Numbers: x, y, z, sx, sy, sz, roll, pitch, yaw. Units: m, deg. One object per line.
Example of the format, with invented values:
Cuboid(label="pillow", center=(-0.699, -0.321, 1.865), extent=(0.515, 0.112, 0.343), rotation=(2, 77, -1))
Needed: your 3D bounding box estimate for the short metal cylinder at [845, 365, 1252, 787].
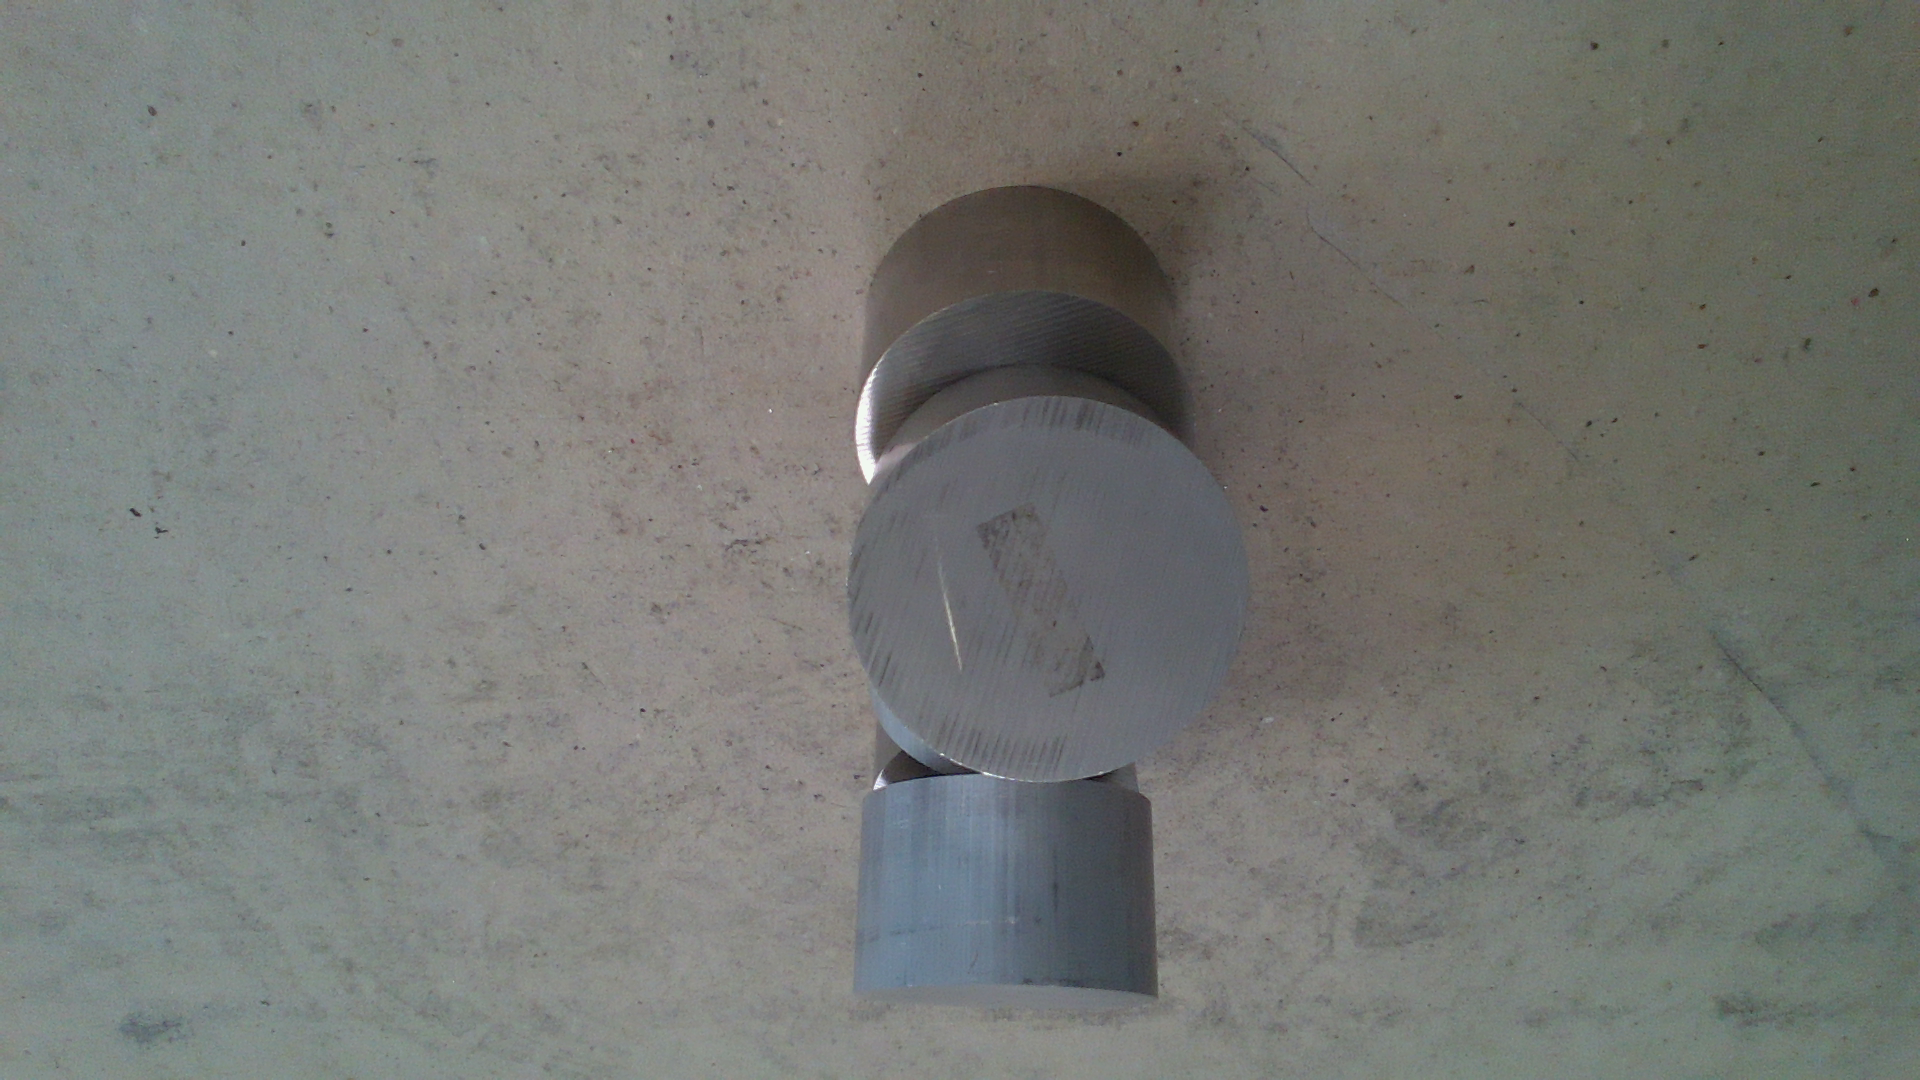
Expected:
Cuboid(label="short metal cylinder", center=(0.017, 0.005, 0.294), extent=(0.080, 0.050, 0.080), rotation=(0, 105, -1))

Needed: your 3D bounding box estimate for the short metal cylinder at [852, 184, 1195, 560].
Cuboid(label="short metal cylinder", center=(0.015, -0.040, 0.341), extent=(0.080, 0.050, 0.080), rotation=(0, 130, 0))

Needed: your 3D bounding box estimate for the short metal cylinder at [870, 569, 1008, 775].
Cuboid(label="short metal cylinder", center=(0.014, 0.020, 0.372), extent=(0.080, 0.080, 0.050), rotation=(1, 130, -1))

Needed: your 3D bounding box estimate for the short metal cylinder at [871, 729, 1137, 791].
Cuboid(label="short metal cylinder", center=(0.013, 0.064, 0.429), extent=(0.080, 0.050, 0.080), rotation=(0, 130, 0))

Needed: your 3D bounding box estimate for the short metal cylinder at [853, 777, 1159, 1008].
Cuboid(label="short metal cylinder", center=(0.012, 0.097, 0.370), extent=(0.080, 0.050, 0.080), rotation=(1, 158, 1))
